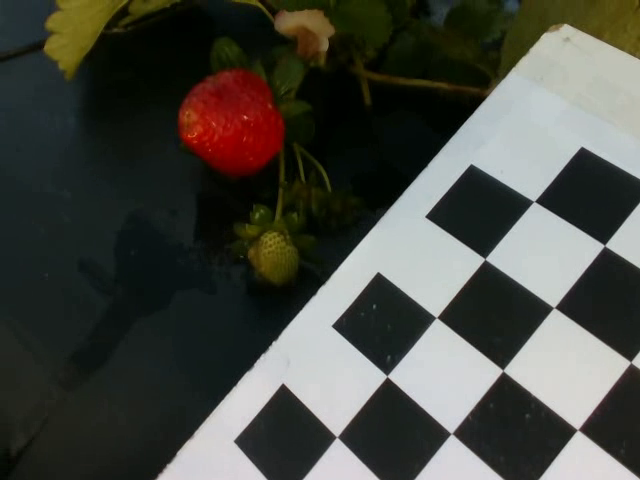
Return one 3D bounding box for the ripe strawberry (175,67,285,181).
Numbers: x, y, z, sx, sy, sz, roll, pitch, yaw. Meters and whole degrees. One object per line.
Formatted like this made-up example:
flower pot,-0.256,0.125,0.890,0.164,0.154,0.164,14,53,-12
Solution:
ripe strawberry,-0.041,-0.048,0.244,0.043,0.052,0.057,10,11,25
